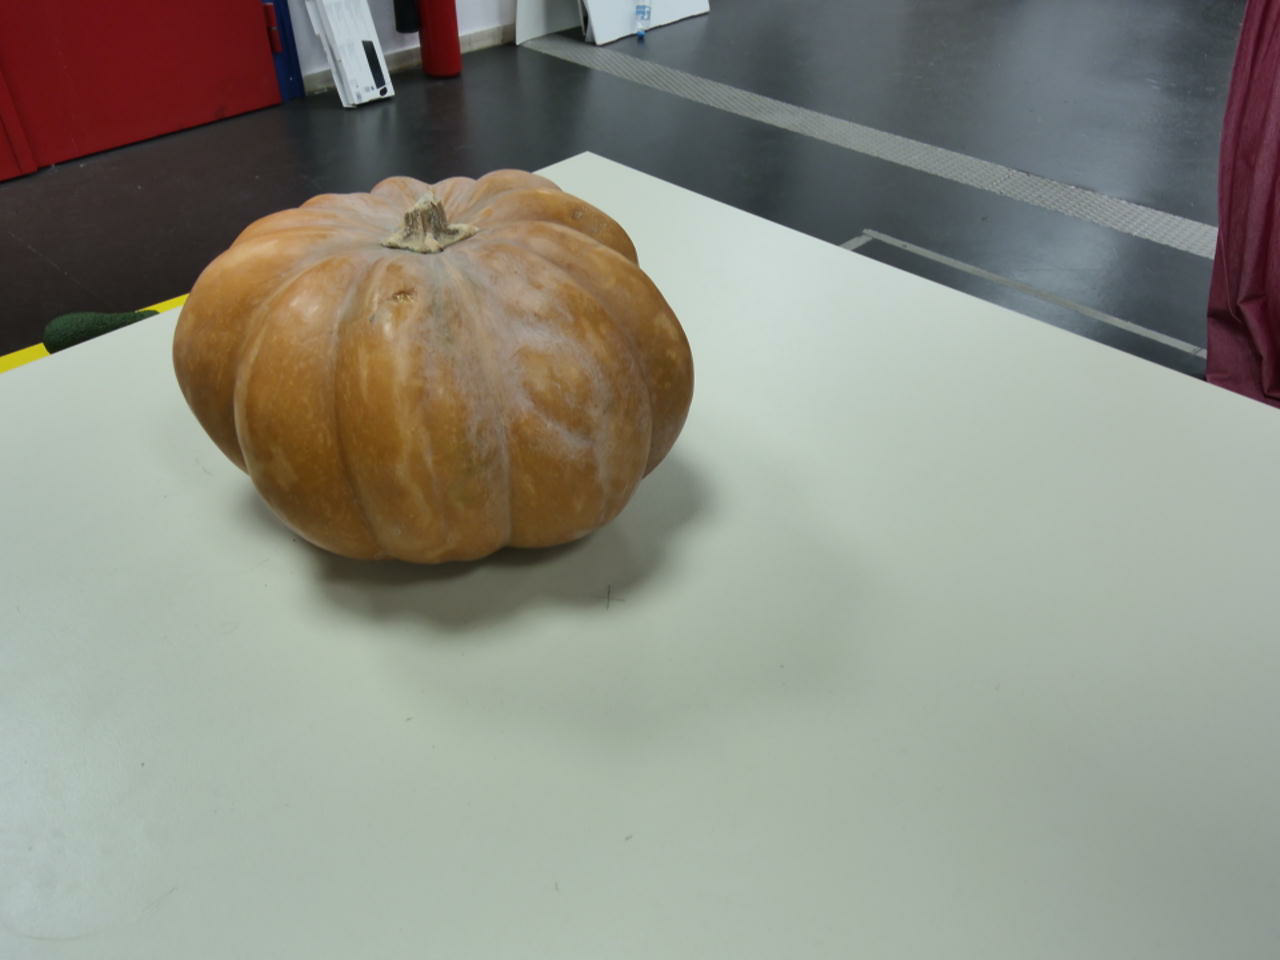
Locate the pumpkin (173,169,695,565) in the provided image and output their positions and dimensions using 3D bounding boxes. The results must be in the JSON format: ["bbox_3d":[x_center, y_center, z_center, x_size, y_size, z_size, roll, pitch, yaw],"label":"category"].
[{"bbox_3d":[-0.107,-0.066,0.554,0.277,0.181,0.277,0,38,0],"label":"pumpkin"}]
